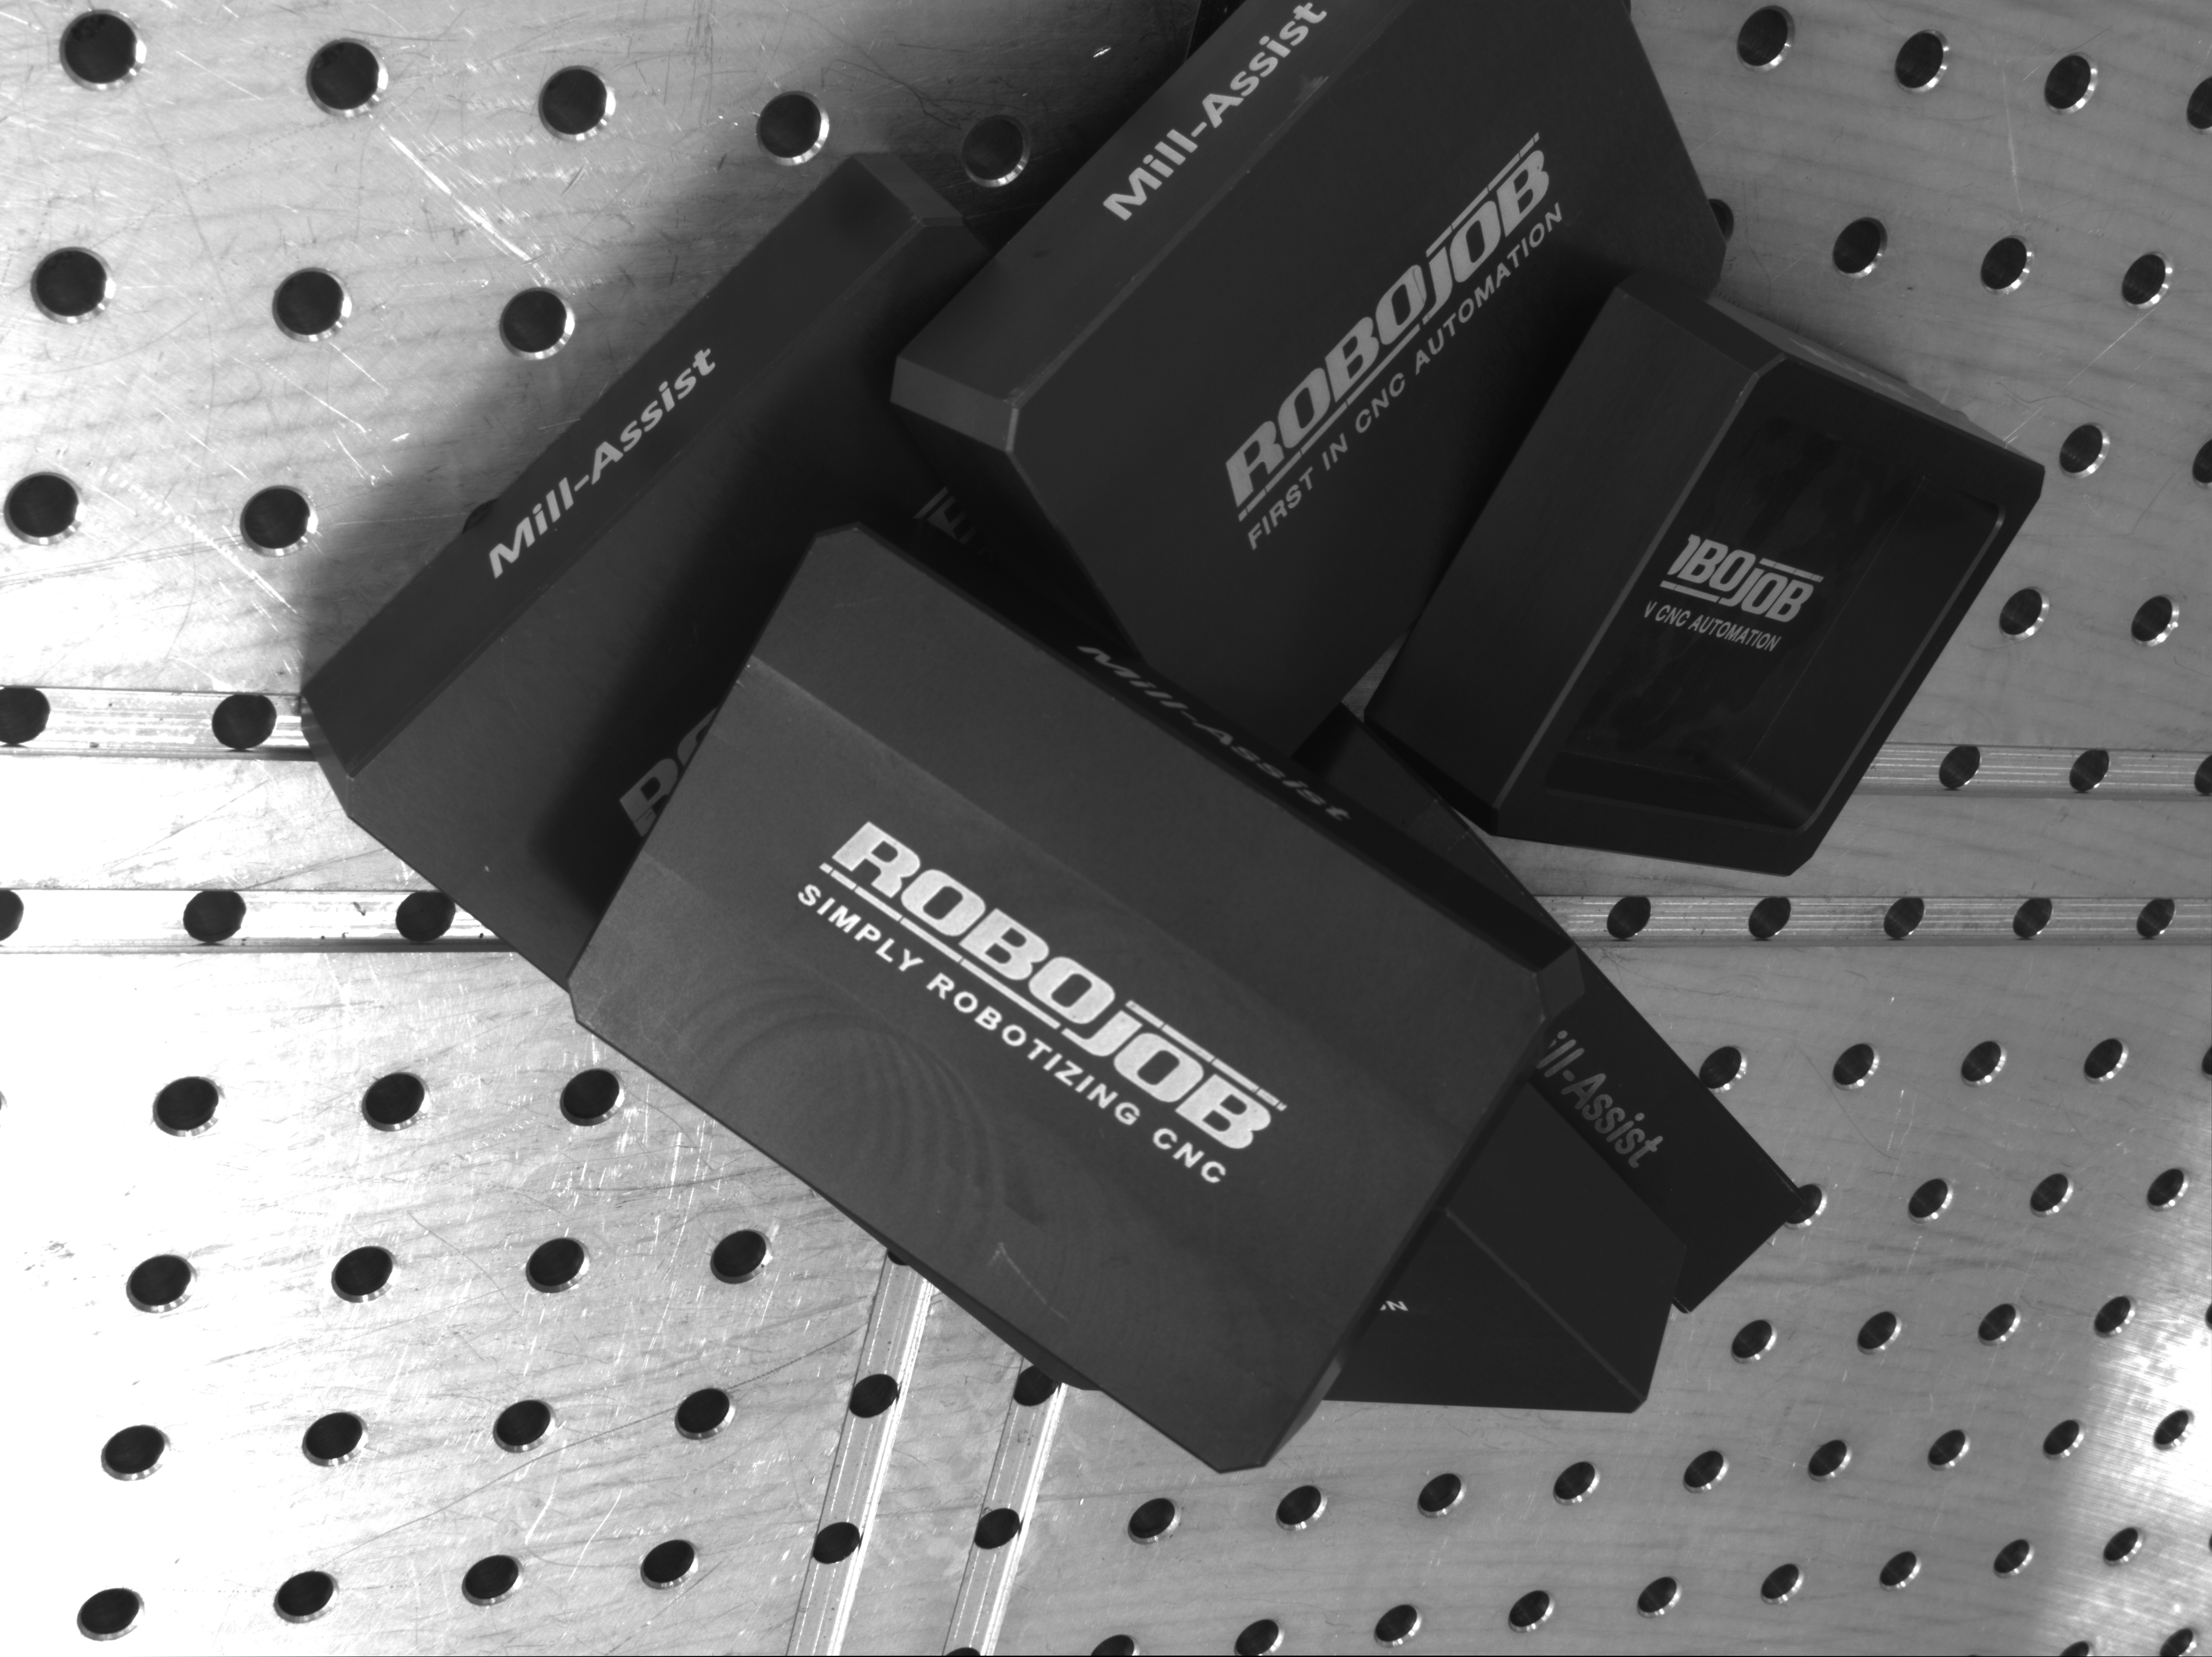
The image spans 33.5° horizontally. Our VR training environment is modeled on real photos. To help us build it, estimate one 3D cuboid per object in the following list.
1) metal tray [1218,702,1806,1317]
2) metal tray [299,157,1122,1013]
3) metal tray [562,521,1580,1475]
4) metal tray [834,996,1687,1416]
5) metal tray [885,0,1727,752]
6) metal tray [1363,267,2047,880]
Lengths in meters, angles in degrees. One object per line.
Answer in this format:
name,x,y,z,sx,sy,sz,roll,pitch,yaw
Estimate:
metal tray,0.061,0.023,0.644,0.030,0.090,0.130,-44,129,2
metal tray,-0.052,-0.032,0.590,0.130,0.030,0.090,-44,130,2
metal tray,-0.006,0.024,0.555,0.090,0.130,0.030,-59,169,14
metal tray,0.022,0.065,0.630,0.090,0.130,0.030,45,54,-39
metal tray,0.035,-0.081,0.583,0.130,0.030,0.090,-47,134,-14
metal tray,0.107,-0.040,0.640,0.130,0.030,0.090,7,117,-56
